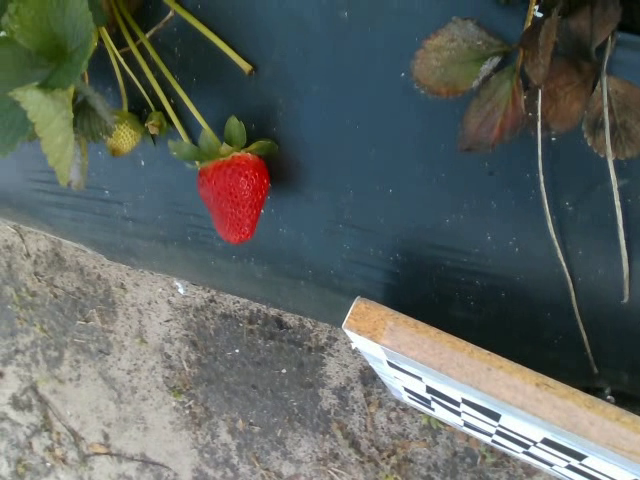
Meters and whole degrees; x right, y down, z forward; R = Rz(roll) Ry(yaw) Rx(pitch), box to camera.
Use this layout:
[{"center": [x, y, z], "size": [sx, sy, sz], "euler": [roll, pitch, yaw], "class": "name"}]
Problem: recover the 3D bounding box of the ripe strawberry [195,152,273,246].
[{"center": [-0.046, -0.021, 0.321], "size": [0.042, 0.054, 0.046], "euler": [4, -2, -22], "class": "ripe strawberry"}]
